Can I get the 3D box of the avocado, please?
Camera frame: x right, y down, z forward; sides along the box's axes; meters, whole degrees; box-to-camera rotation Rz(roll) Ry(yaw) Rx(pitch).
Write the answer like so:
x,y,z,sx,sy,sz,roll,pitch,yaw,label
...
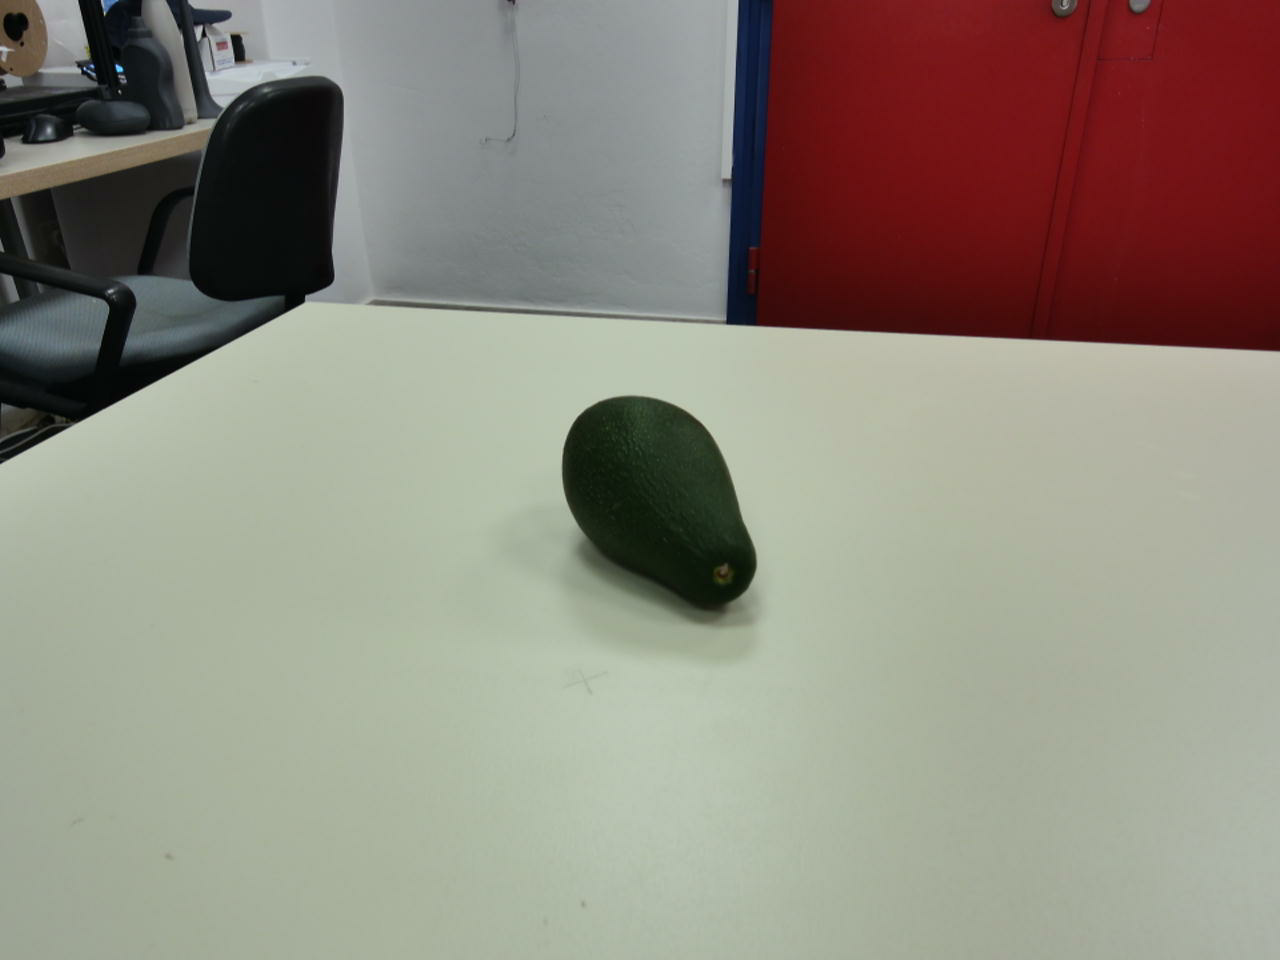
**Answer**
x,y,z,sx,sy,sz,roll,pitch,yaw,label
0.004,0.005,0.423,0.072,0.071,0.109,-5,24,-9,avocado
